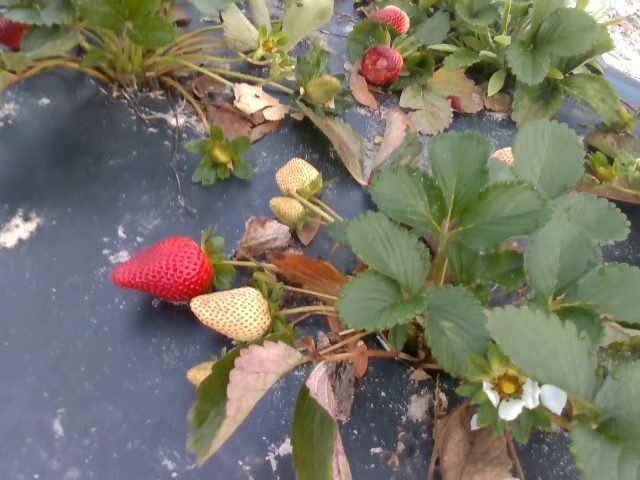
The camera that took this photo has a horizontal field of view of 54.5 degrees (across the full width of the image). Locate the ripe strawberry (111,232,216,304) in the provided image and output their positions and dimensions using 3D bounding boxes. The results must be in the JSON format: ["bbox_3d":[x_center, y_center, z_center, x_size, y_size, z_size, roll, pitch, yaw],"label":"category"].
[{"bbox_3d":[-0.086,0.016,0.337,0.059,0.034,0.050,-15,53,-38],"label":"ripe strawberry"}]
